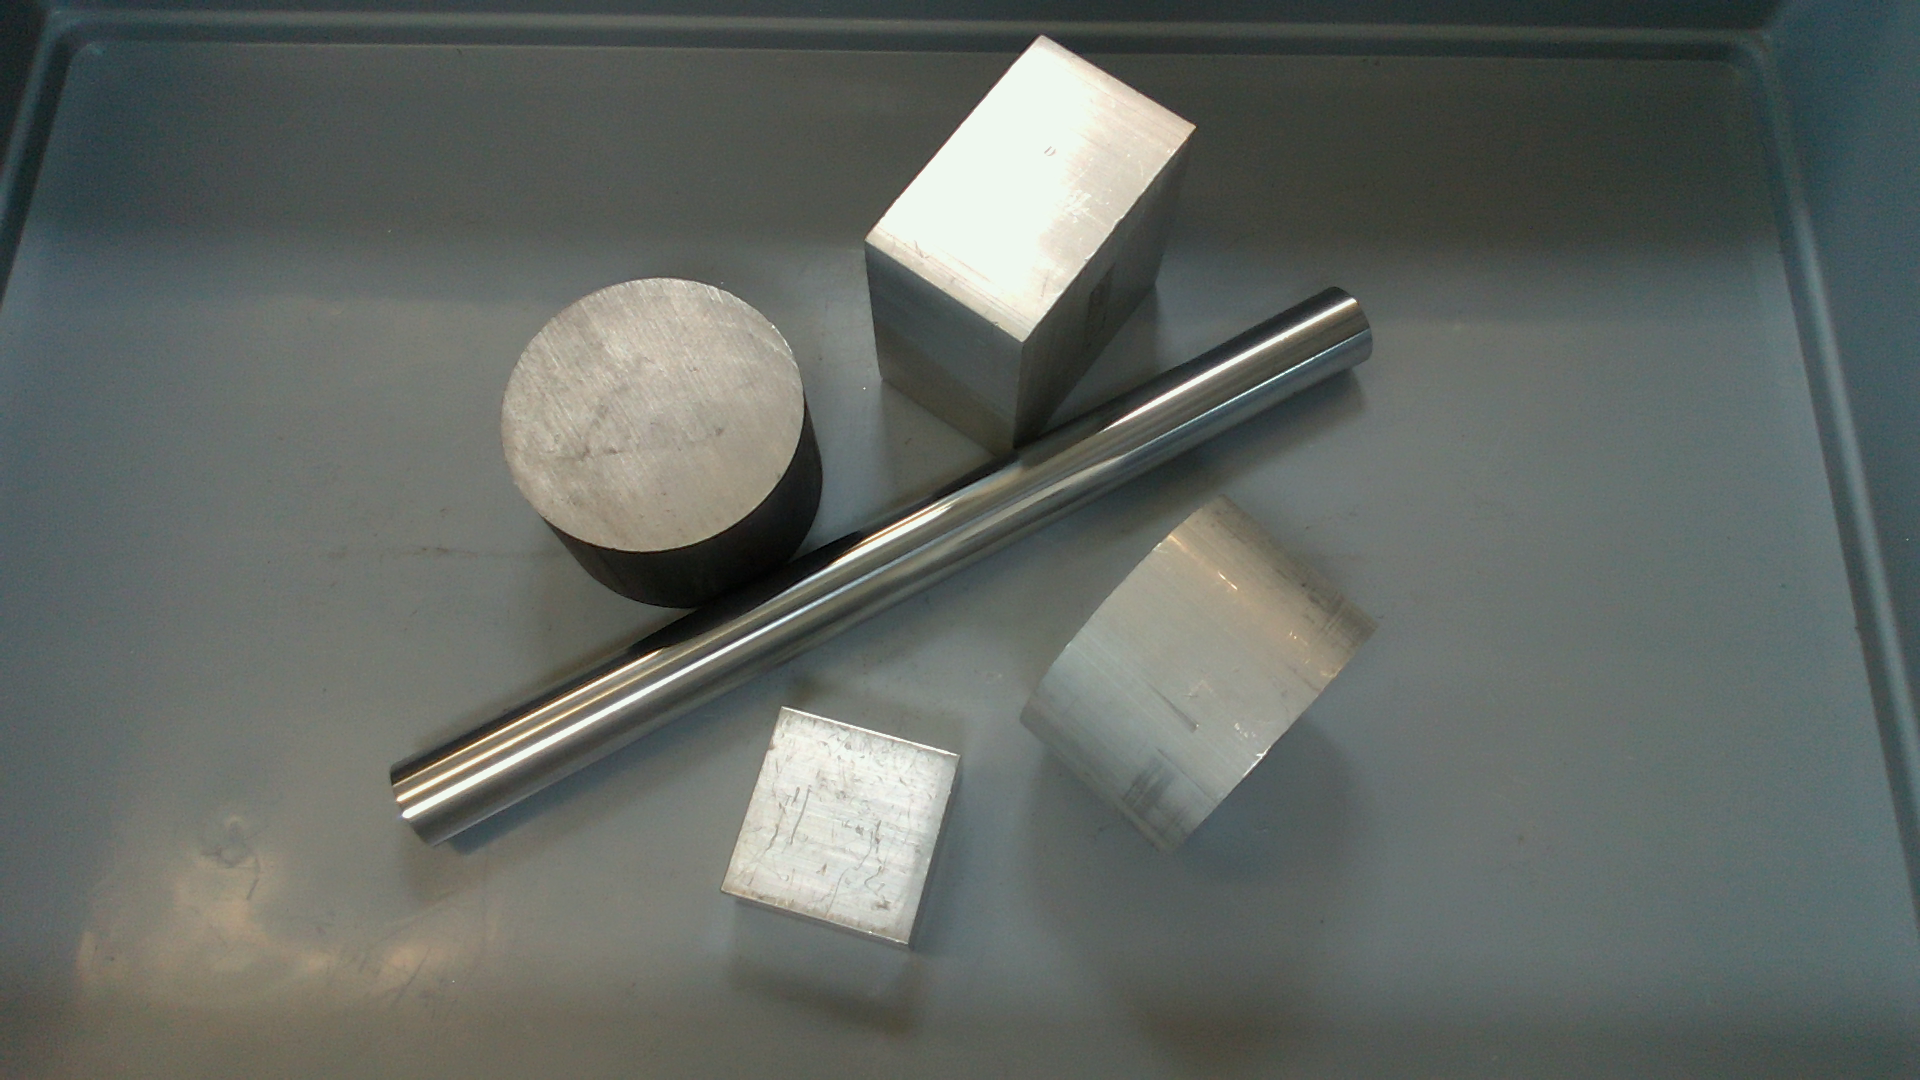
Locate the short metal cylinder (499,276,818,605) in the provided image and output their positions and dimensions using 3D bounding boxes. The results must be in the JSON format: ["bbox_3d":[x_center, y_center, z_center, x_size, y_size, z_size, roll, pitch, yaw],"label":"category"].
[{"bbox_3d":[-0.082,-0.027,0.389,0.080,0.050,0.080,0,70,0],"label":"short metal cylinder"}]

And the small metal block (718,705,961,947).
[{"bbox_3d":[-0.030,0.077,0.365,0.050,0.025,0.050,14,71,5],"label":"small metal block"}]

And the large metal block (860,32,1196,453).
[{"bbox_3d":[0.019,-0.080,0.394,0.050,0.080,0.080,34,74,12],"label":"large metal block"}]

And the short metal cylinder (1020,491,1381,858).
[{"bbox_3d":[0.061,0.034,0.352,0.050,0.080,0.080,42,75,13],"label":"short metal cylinder"}]

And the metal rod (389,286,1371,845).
[{"bbox_3d":[-0.015,0.002,0.393,0.300,0.025,0.025,-27,72,-10],"label":"metal rod"}]
